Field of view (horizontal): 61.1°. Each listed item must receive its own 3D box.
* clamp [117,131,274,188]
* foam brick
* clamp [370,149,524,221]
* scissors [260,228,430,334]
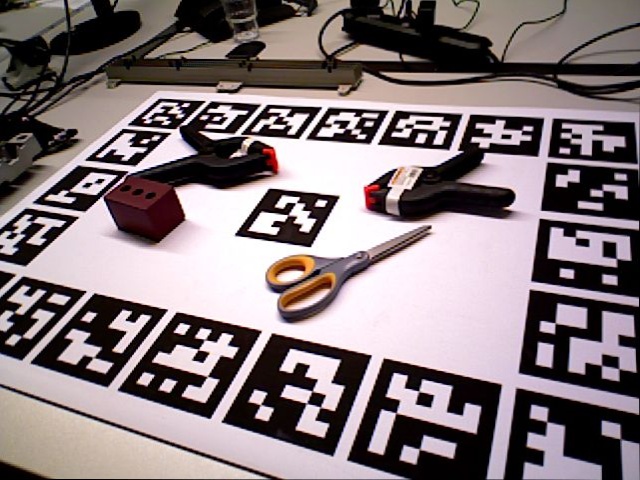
[{"bbox_3d":[-0.161,-0.111,0.765,0.203,0.037,0.161,5,41,17],"label":"clamp"},{"bbox_3d":[-0.223,-0.029,0.679,0.078,0.052,0.051,11,47,30],"label":"foam brick"},{"bbox_3d":[0.140,-0.061,0.645,0.164,0.037,0.120,-12,48,1],"label":"clamp"},{"bbox_3d":[0.033,0.027,0.574,0.200,0.016,0.087,-26,51,-18],"label":"scissors"}]
